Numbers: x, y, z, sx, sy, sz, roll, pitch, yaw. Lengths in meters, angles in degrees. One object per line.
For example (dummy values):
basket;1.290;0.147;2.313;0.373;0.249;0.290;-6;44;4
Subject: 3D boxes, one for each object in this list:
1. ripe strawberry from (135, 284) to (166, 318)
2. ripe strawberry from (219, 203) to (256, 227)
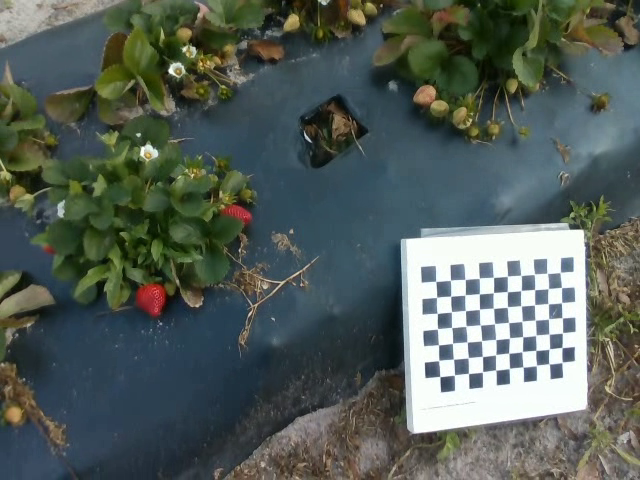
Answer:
ripe strawberry;-0.224;0.083;0.781;0.043;0.051;0.043;-19;-24;-14
ripe strawberry;-0.118;-0.031;0.829;0.046;0.043;0.046;-5;-2;16
